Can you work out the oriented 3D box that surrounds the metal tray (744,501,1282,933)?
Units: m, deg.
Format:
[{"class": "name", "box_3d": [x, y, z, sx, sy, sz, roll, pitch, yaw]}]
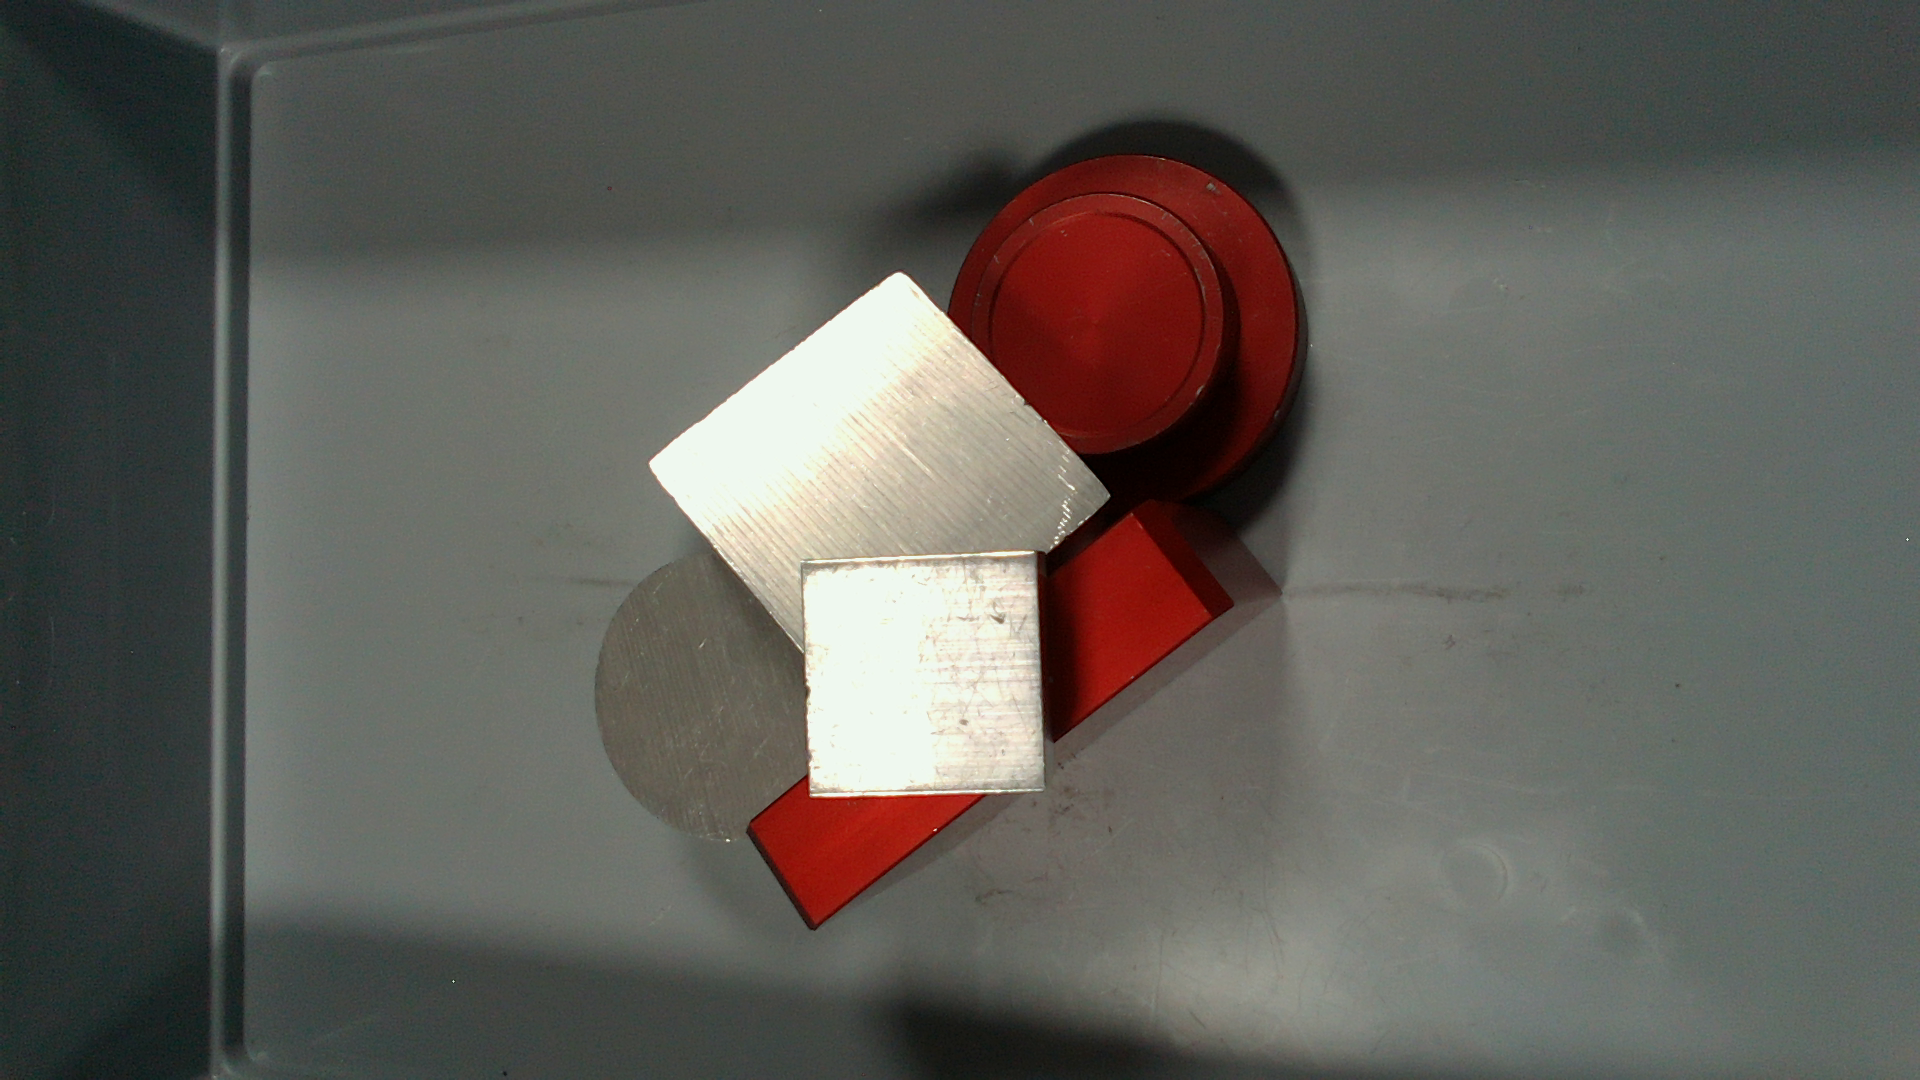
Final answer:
[{"class": "metal tray", "box_3d": [0.017, 0.043, 0.353, 0.130, 0.090, 0.030, -40, 76, 15]}]

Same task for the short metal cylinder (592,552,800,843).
[{"class": "short metal cylinder", "box_3d": [-0.059, 0.043, 0.402, 0.080, 0.050, 0.080, 0, 90, 20]}]

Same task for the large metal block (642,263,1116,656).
[{"class": "large metal block", "box_3d": [-0.019, -0.008, 0.350, 0.080, 0.050, 0.080, -40, 76, -10]}]

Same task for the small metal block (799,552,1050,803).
[{"class": "small metal block", "box_3d": [-0.006, 0.029, 0.295, 0.050, 0.025, 0.050, -2, 89, 7]}]

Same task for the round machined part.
[{"class": "round machined part", "box_3d": [0.041, -0.055, 0.370, 0.098, 0.042, 0.098, 0, 90, 20]}]
